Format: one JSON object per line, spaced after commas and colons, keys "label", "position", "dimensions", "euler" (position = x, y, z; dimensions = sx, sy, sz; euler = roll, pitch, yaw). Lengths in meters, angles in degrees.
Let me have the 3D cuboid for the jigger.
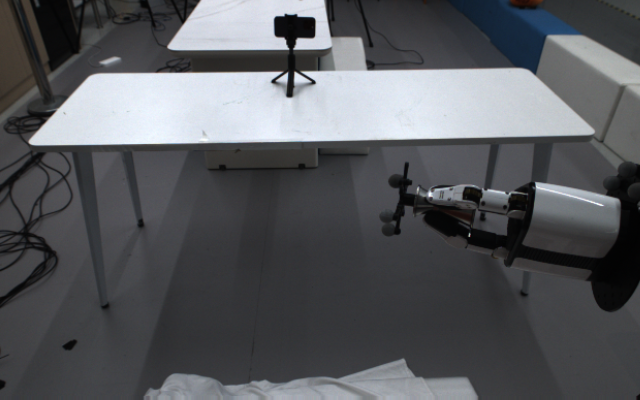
{"label": "jigger", "position": [0.153, 0.002, 0.568], "dimensions": [0.071, 0.043, 0.043], "euler": [10, 35, 16]}
